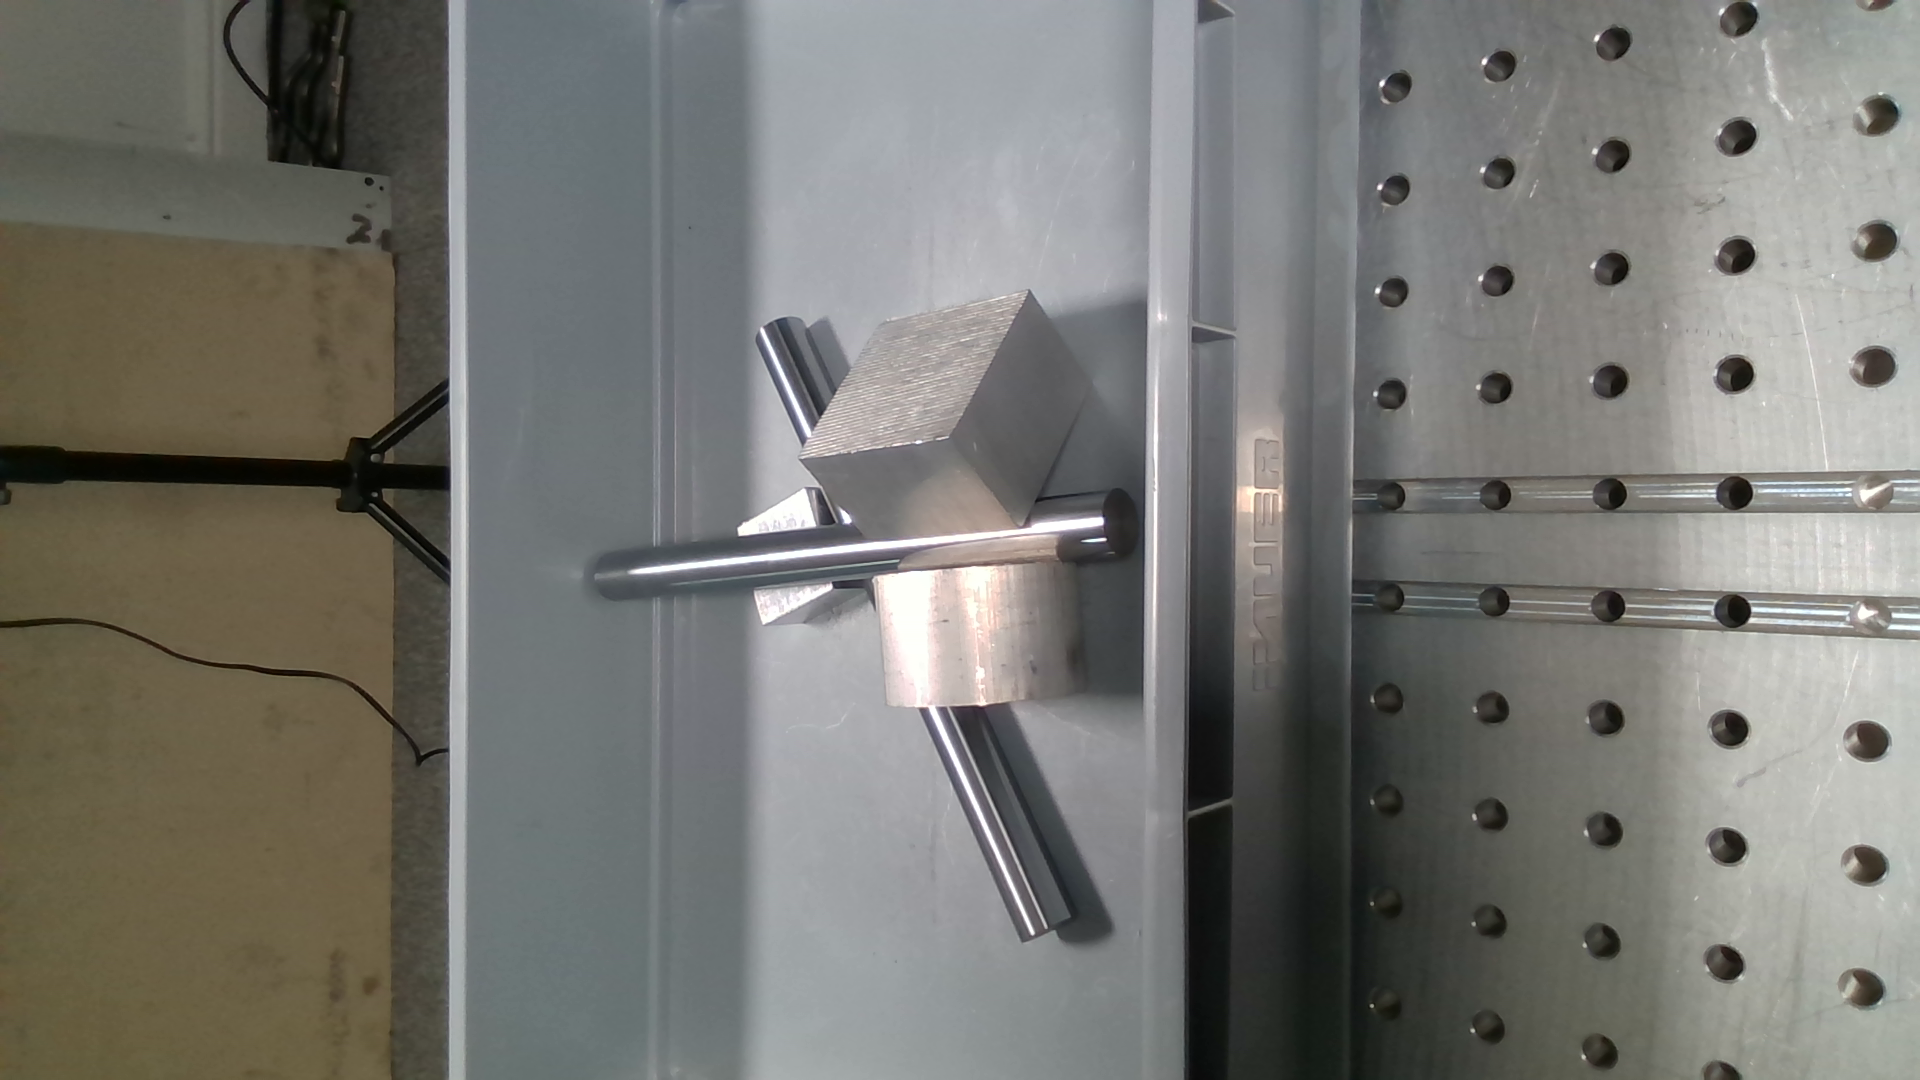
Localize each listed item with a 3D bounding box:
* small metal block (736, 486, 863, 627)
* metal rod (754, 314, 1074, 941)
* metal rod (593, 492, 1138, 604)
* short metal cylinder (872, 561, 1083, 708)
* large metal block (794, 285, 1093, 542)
[{"bbox_3d":[-0.074,0.008,0.643,0.050,0.025,0.050,-27,73,37],"label":"small metal block"},{"bbox_3d":[-0.026,0.028,0.602,0.025,0.025,0.299,-39,66,34],"label":"metal rod"},{"bbox_3d":[-0.058,0.008,0.595,0.300,0.025,0.025,-6,86,39],"label":"metal rod"},{"bbox_3d":[0.007,0.036,0.538,0.080,0.080,0.050,-6,88,40],"label":"short metal cylinder"},{"bbox_3d":[-0.005,-0.048,0.543,0.080,0.050,0.080,-5,47,40],"label":"large metal block"}]
